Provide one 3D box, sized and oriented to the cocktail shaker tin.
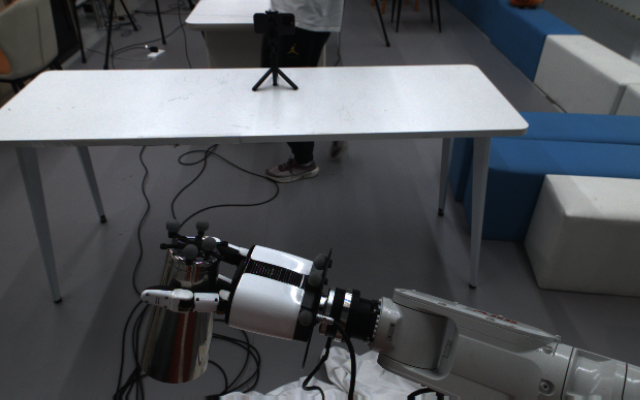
[{"bbox_3d":[-0.179,0.143,0.639,0.093,0.170,0.093,14,18,-5],"label":"cocktail shaker tin"}]
